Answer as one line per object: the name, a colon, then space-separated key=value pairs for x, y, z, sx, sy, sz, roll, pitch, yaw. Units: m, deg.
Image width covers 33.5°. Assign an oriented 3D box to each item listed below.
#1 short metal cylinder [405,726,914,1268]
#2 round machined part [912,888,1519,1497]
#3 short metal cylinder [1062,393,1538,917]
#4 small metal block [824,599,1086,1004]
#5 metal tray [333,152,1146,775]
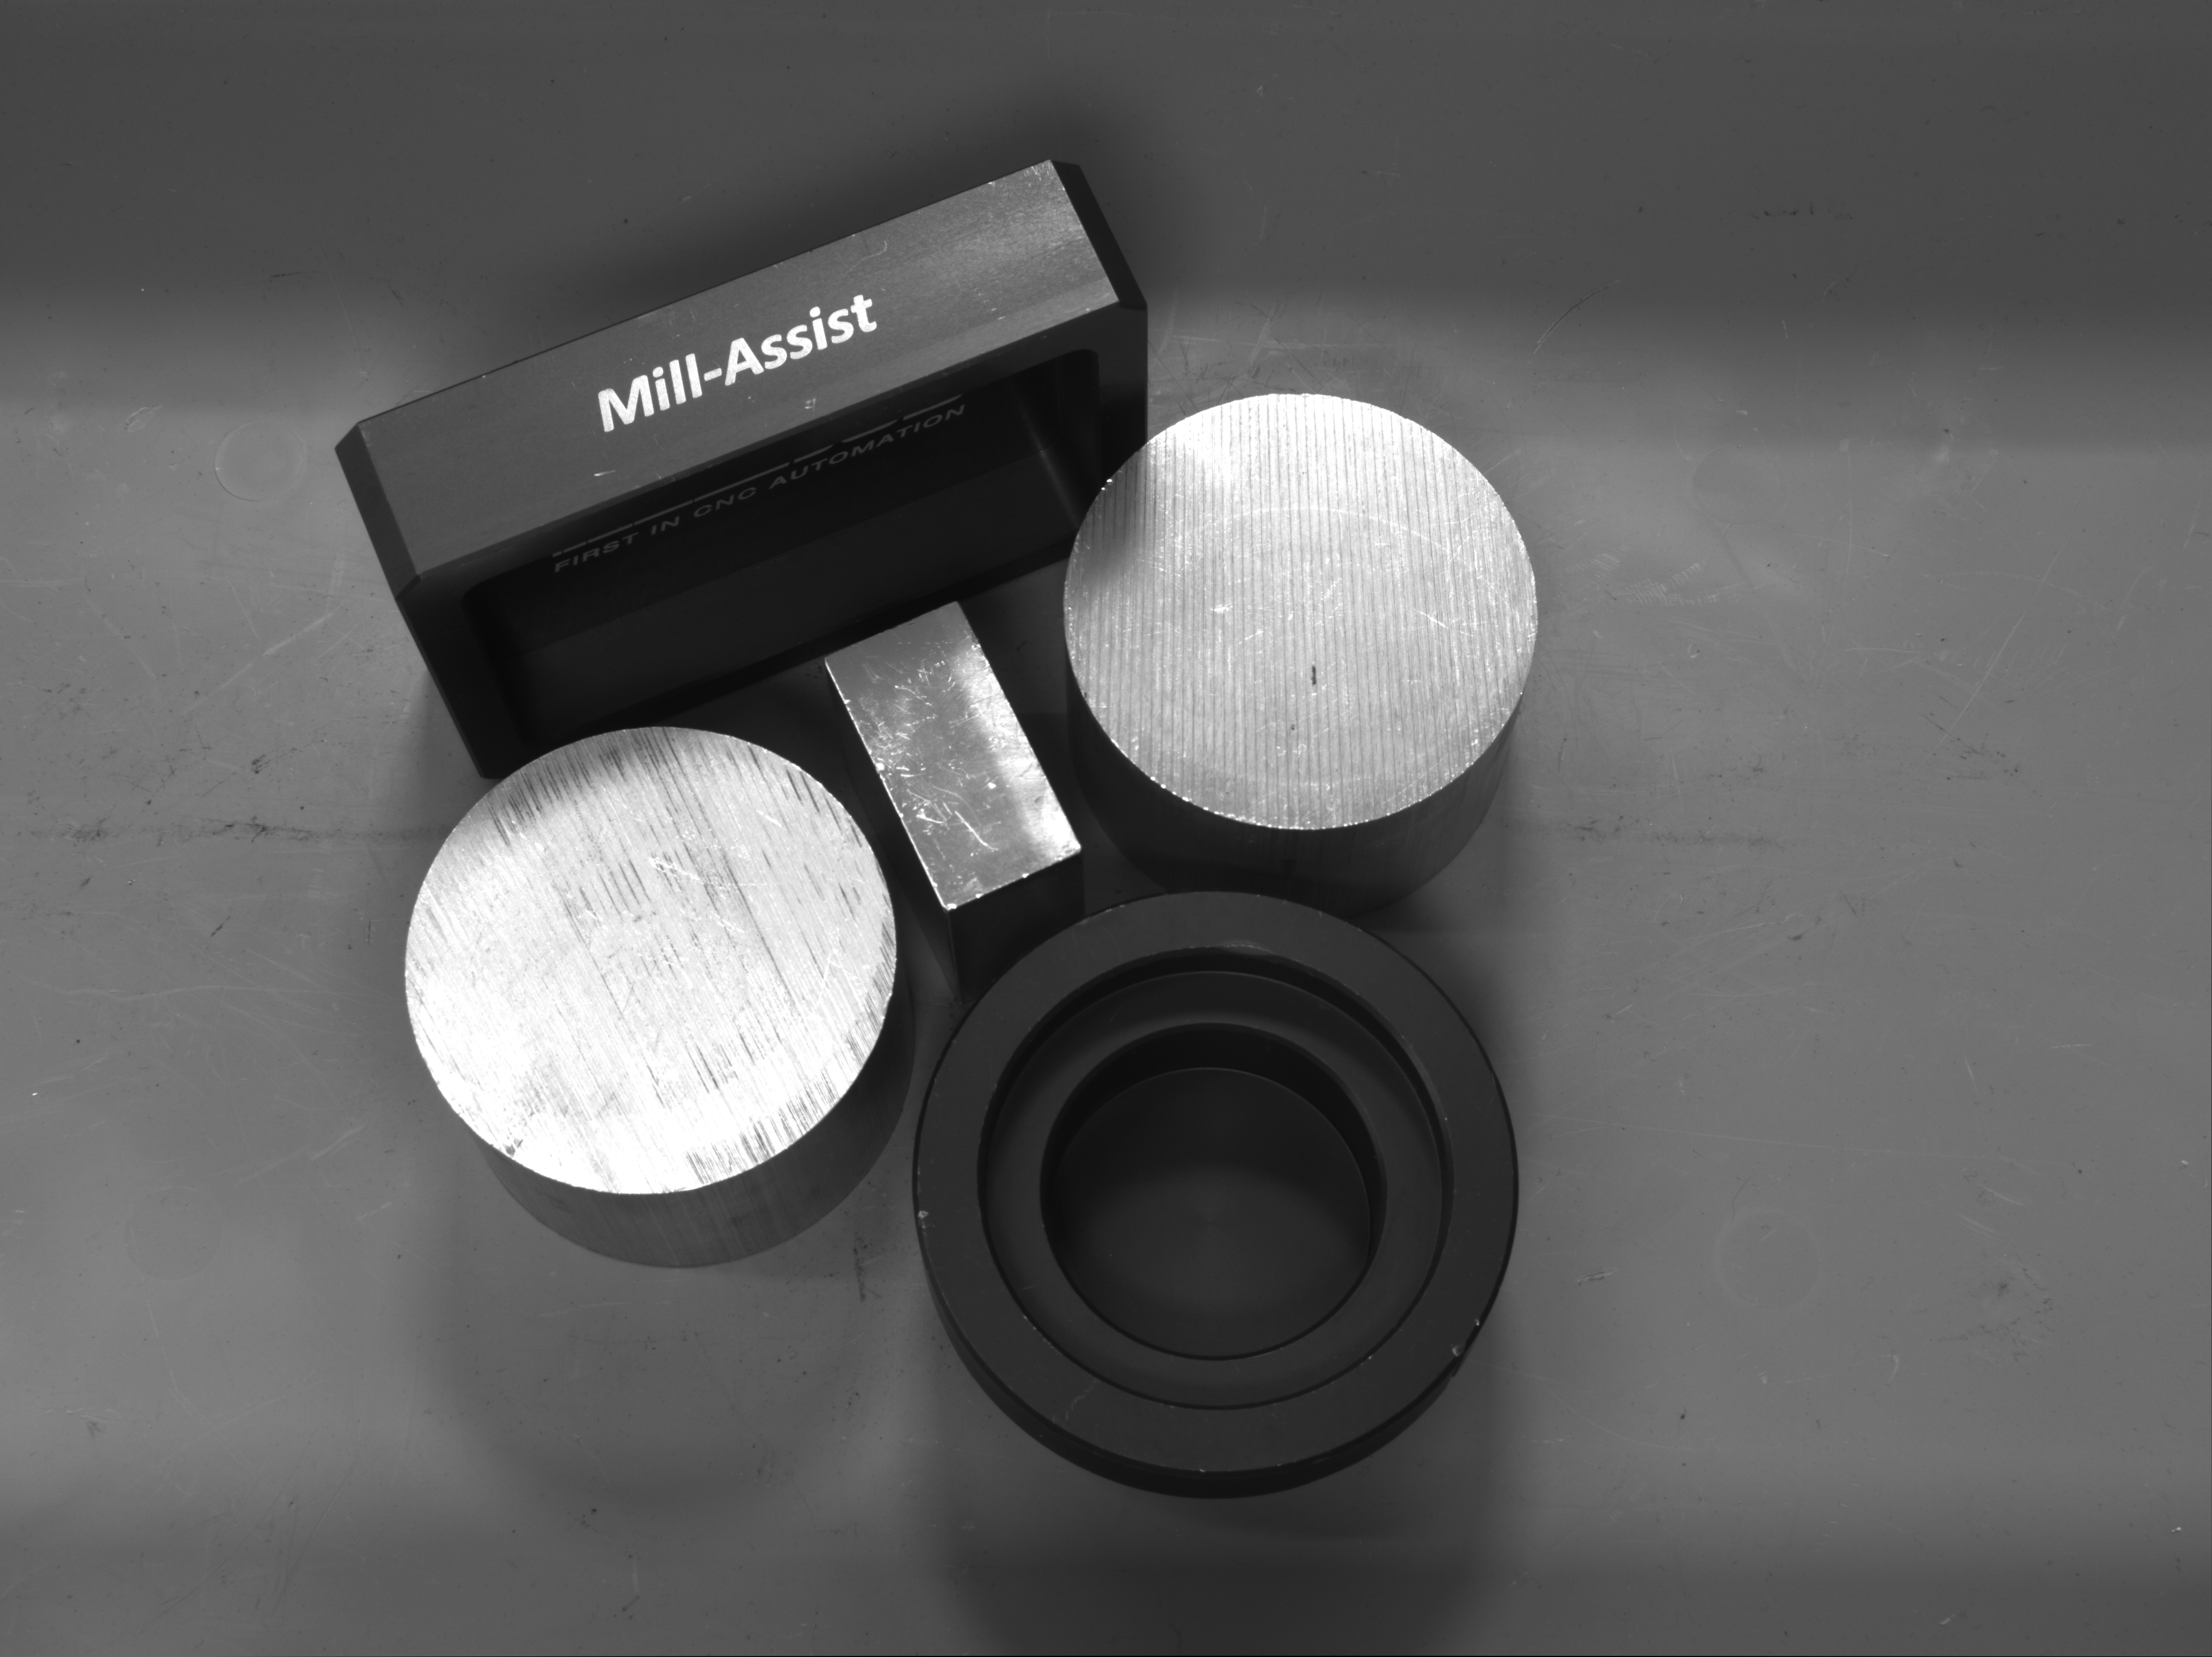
short metal cylinder: x=-0.074 y=0.029 z=0.620 sx=0.080 sy=0.050 sz=0.080 roll=0 pitch=70 yaw=0
round machined part: x=0.018 y=0.063 z=0.612 sx=0.098 sy=0.042 sz=0.098 roll=0 pitch=70 yaw=0
short metal cylinder: x=0.033 y=-0.029 z=0.641 sx=0.080 sy=0.050 sz=0.080 roll=0 pitch=70 yaw=0
small metal block: x=-0.025 y=-0.004 z=0.631 sx=0.025 sy=0.050 sz=0.050 roll=-24 pitch=72 yaw=-8
metal tray: x=-0.058 y=-0.060 z=0.631 sx=0.130 sy=0.090 sz=0.030 roll=-23 pitch=71 yaw=-7
